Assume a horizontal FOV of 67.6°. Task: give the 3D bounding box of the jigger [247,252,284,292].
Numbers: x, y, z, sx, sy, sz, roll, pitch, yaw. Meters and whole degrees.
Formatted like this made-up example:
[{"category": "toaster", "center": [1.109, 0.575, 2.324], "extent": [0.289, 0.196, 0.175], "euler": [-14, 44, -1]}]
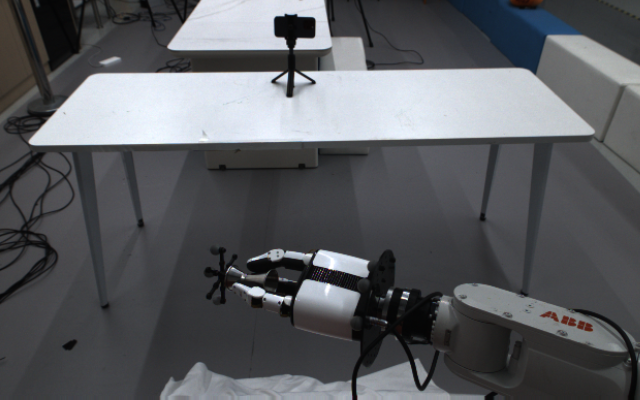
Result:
[{"category": "jigger", "center": [-0.095, 0.116, 0.716], "extent": [0.071, 0.043, 0.043], "euler": [5, 33, 22]}]
